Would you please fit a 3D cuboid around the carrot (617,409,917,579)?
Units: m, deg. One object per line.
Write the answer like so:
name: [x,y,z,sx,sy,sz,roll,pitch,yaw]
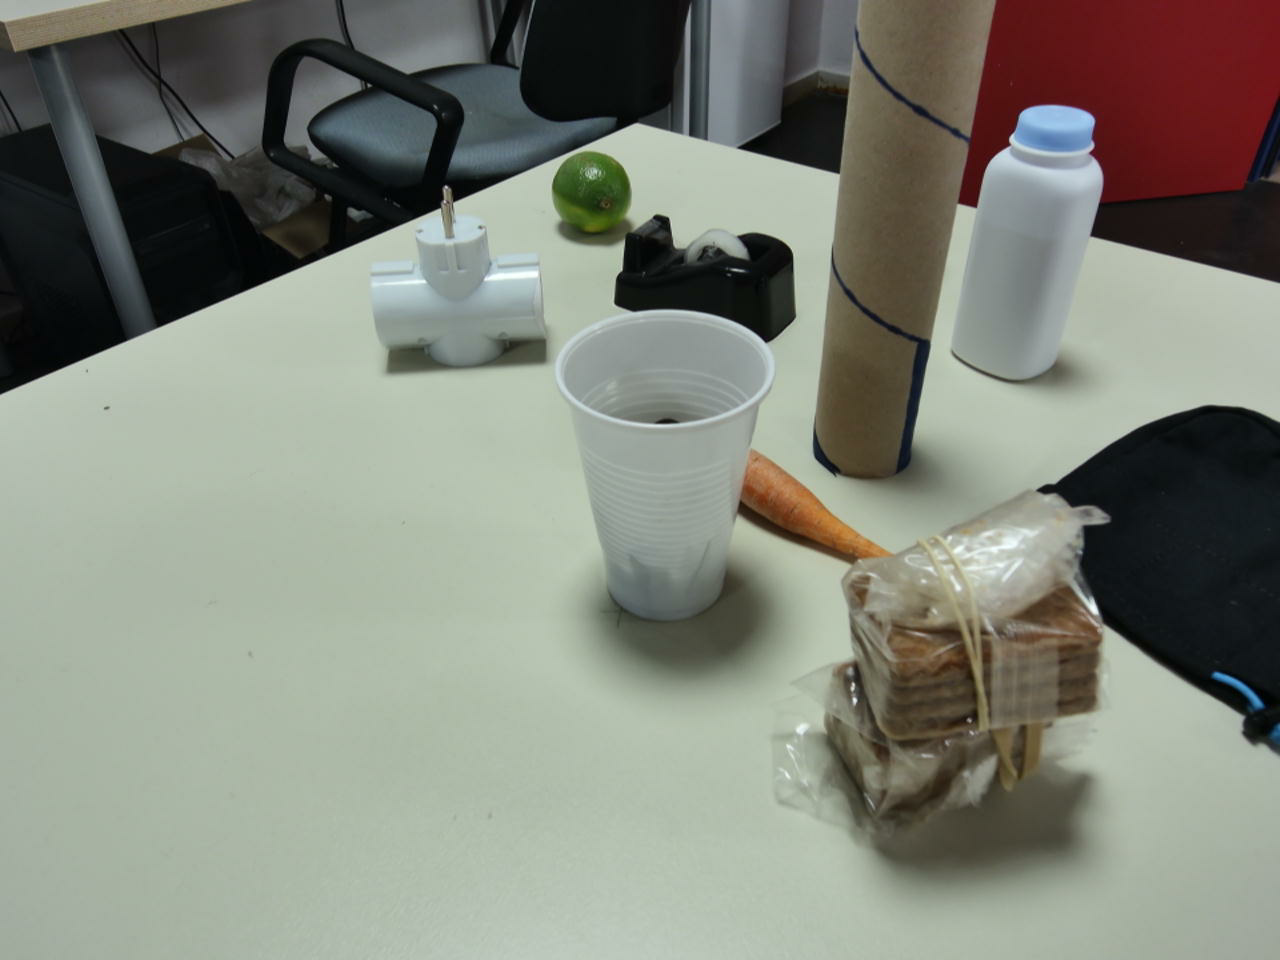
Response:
carrot: [0.053,0.002,0.449,0.163,0.029,0.031,27,44,31]
